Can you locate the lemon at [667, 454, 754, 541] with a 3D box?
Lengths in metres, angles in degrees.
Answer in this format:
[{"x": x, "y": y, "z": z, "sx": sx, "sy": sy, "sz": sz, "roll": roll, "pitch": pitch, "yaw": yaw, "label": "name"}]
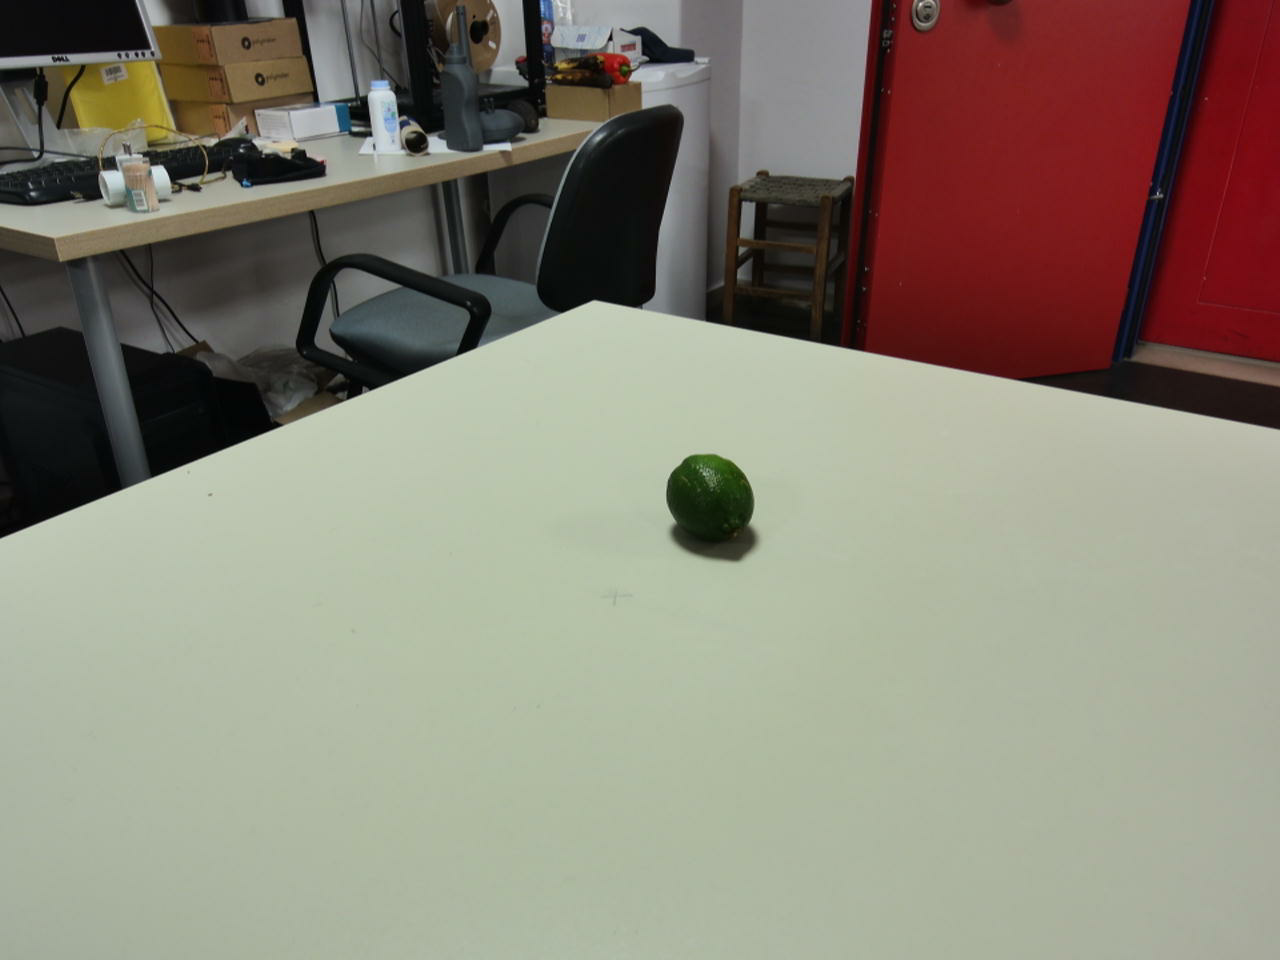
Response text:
[{"x": 0.044, "y": 0.010, "z": 0.617, "sx": 0.057, "sy": 0.051, "sz": 0.054, "roll": 16, "pitch": 29, "yaw": 29, "label": "lemon"}]
